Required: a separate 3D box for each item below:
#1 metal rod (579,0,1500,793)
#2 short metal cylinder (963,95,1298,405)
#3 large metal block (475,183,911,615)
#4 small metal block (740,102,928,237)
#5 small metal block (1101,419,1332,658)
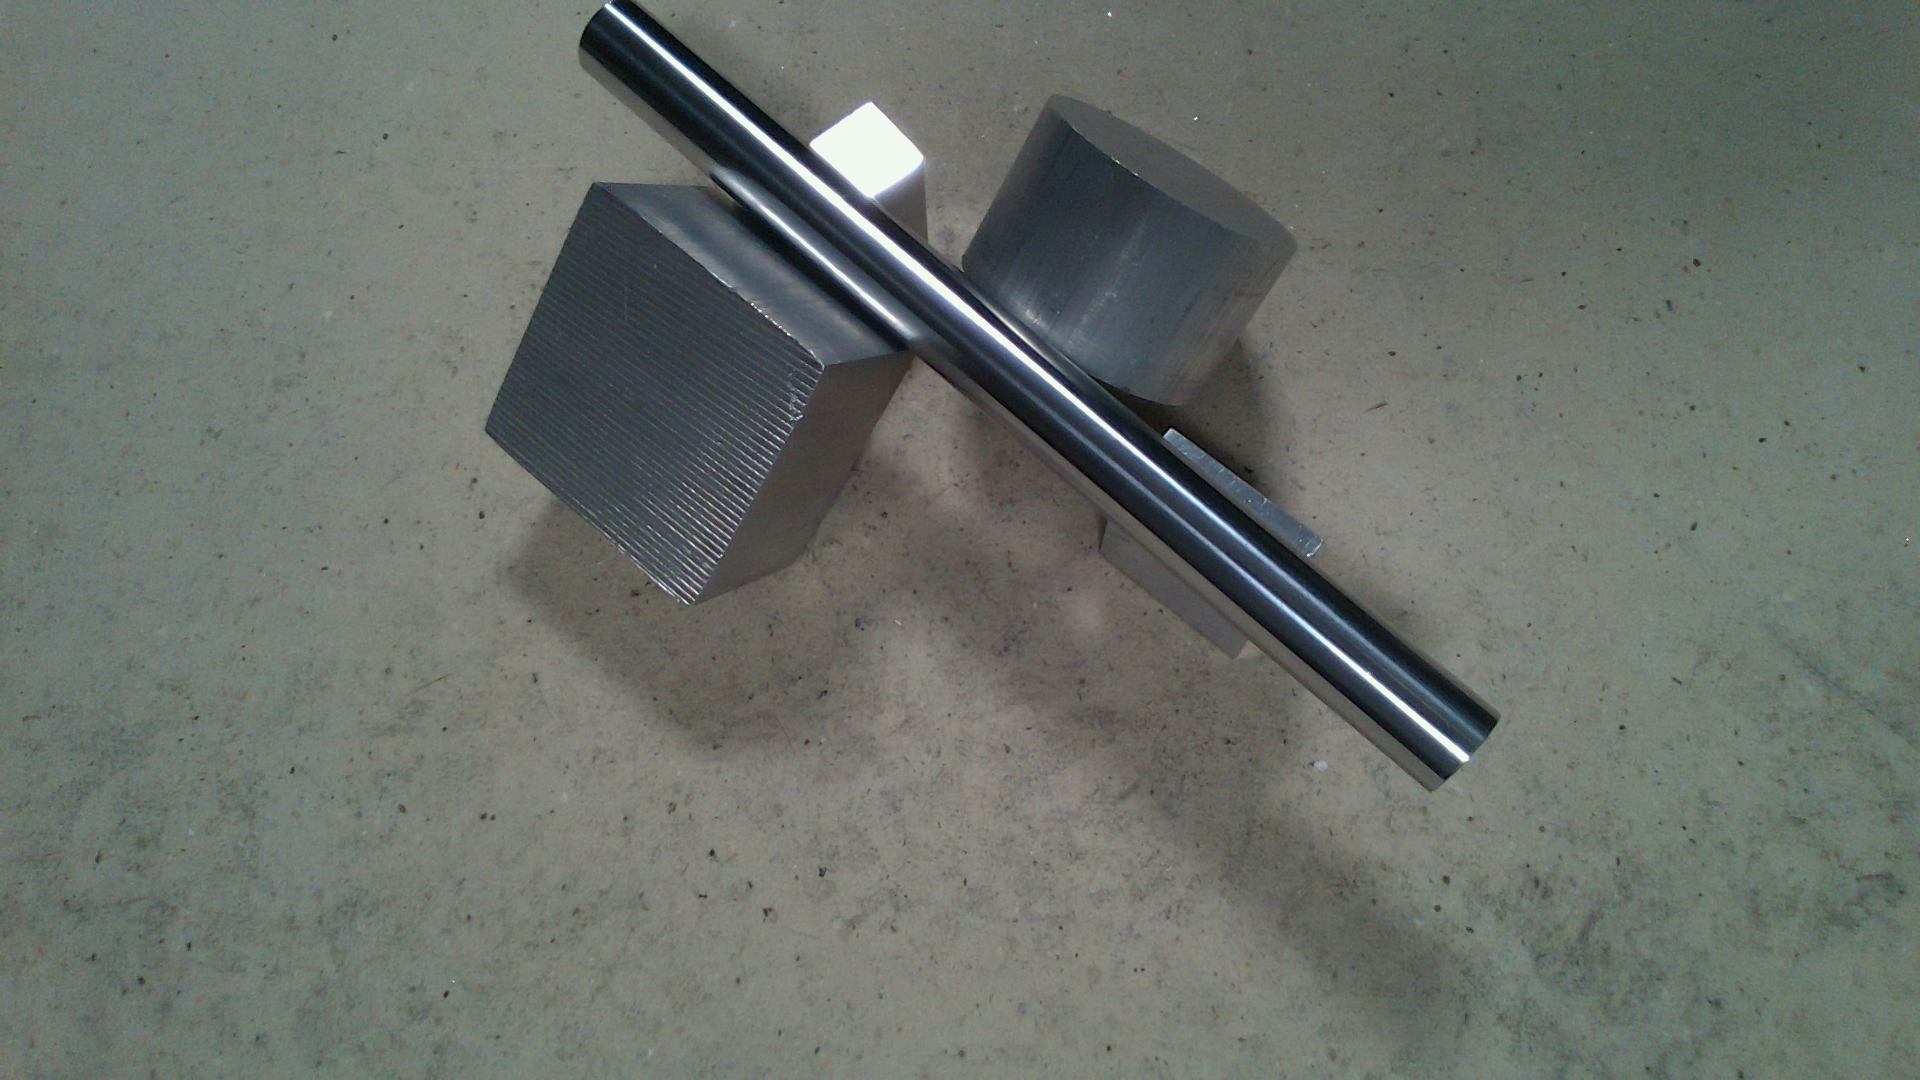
[{"bbox_3d":[0.010,-0.047,0.359,0.300,0.025,0.025,42,75,14],"label":"metal rod"},{"bbox_3d":[0.047,-0.082,0.389,0.080,0.080,0.050,37,116,12],"label":"short metal cylinder"},{"bbox_3d":[-0.073,-0.040,0.377,0.080,0.050,0.080,39,115,12],"label":"large metal block"},{"bbox_3d":[-0.037,-0.096,0.417,0.050,0.050,0.025,-37,74,-12],"label":"small metal block"},{"bbox_3d":[0.068,0.001,0.378,0.050,0.050,0.025,39,75,13],"label":"small metal block"}]
